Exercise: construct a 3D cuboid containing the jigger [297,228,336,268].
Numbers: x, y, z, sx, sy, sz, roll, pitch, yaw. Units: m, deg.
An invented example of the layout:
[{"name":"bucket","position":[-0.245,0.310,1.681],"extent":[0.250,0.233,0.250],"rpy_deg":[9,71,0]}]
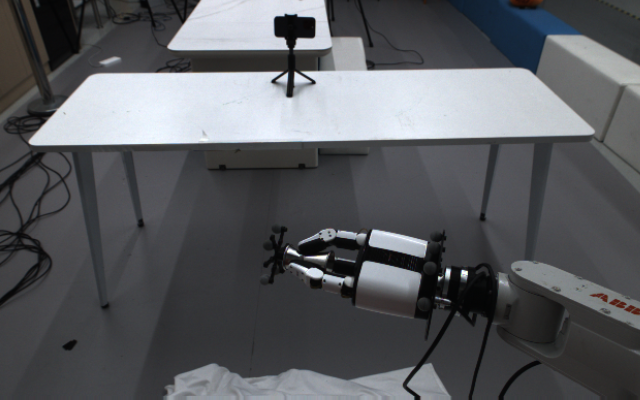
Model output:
[{"name":"jigger","position":[-0.011,0.088,0.721],"extent":[0.071,0.043,0.043],"rpy_deg":[9,35,17]}]
